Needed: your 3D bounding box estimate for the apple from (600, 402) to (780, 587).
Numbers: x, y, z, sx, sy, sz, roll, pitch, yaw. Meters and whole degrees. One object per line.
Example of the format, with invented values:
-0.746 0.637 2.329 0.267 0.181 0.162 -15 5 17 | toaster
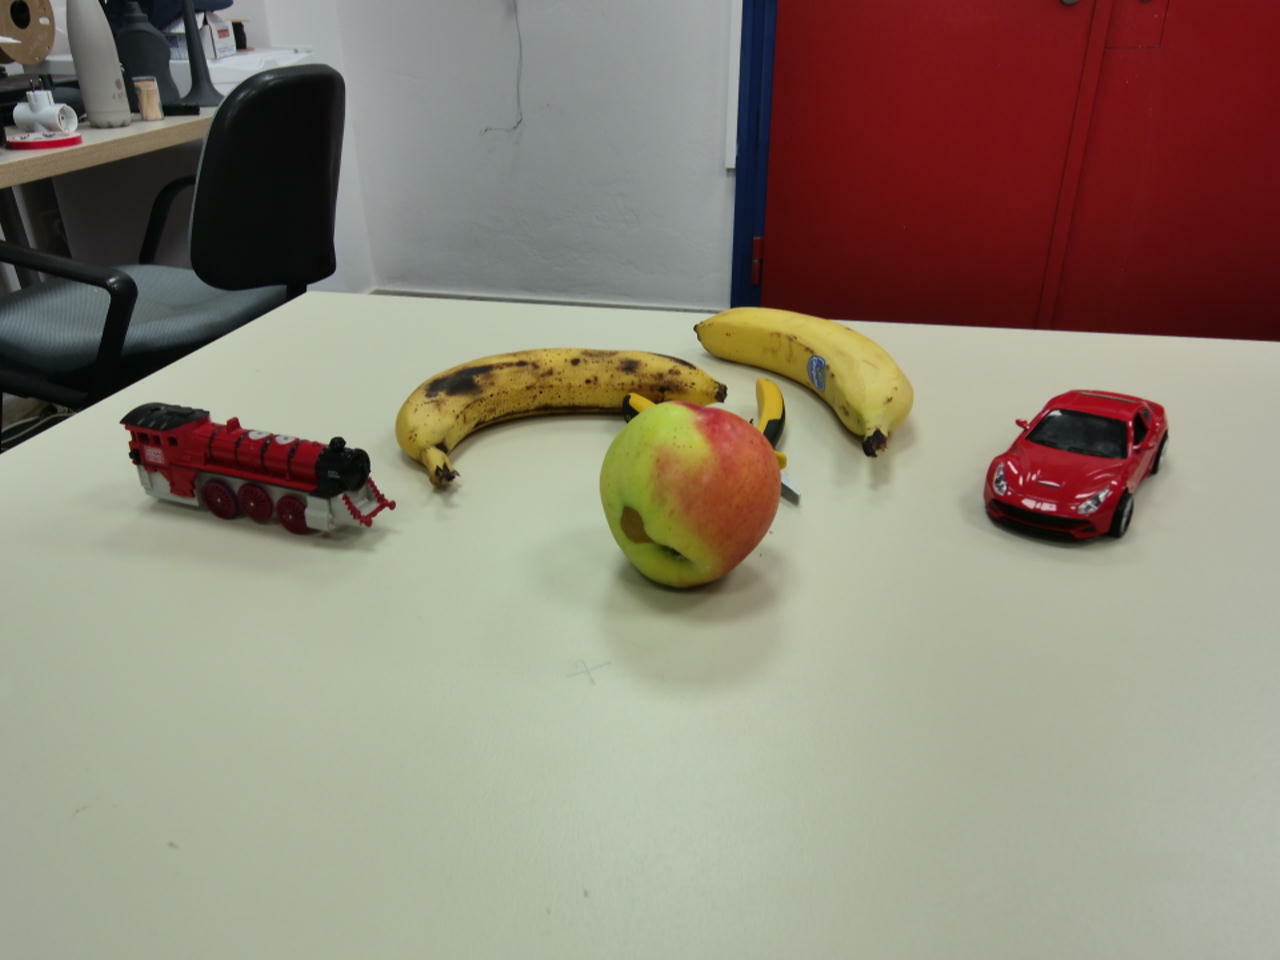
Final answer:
0.020 0.006 0.413 0.075 0.074 0.075 -3 24 -6 | apple
